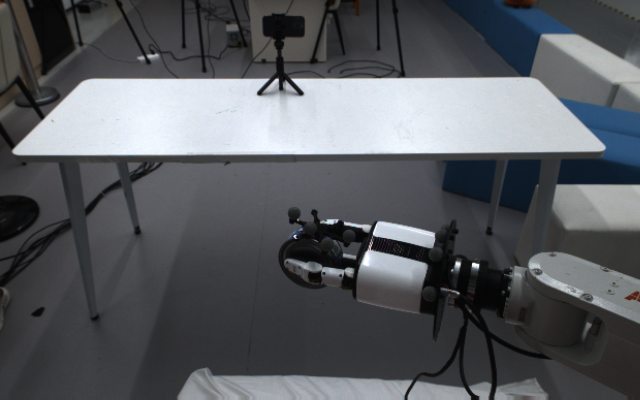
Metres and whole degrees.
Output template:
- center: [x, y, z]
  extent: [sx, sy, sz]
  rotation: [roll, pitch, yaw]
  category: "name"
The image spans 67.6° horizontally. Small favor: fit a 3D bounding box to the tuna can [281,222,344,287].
- center: [-0.010, 0.080, 0.675]
  extent: [0.085, 0.085, 0.034]
  rotation: [12, 30, 15]
  category: "tuna can"
